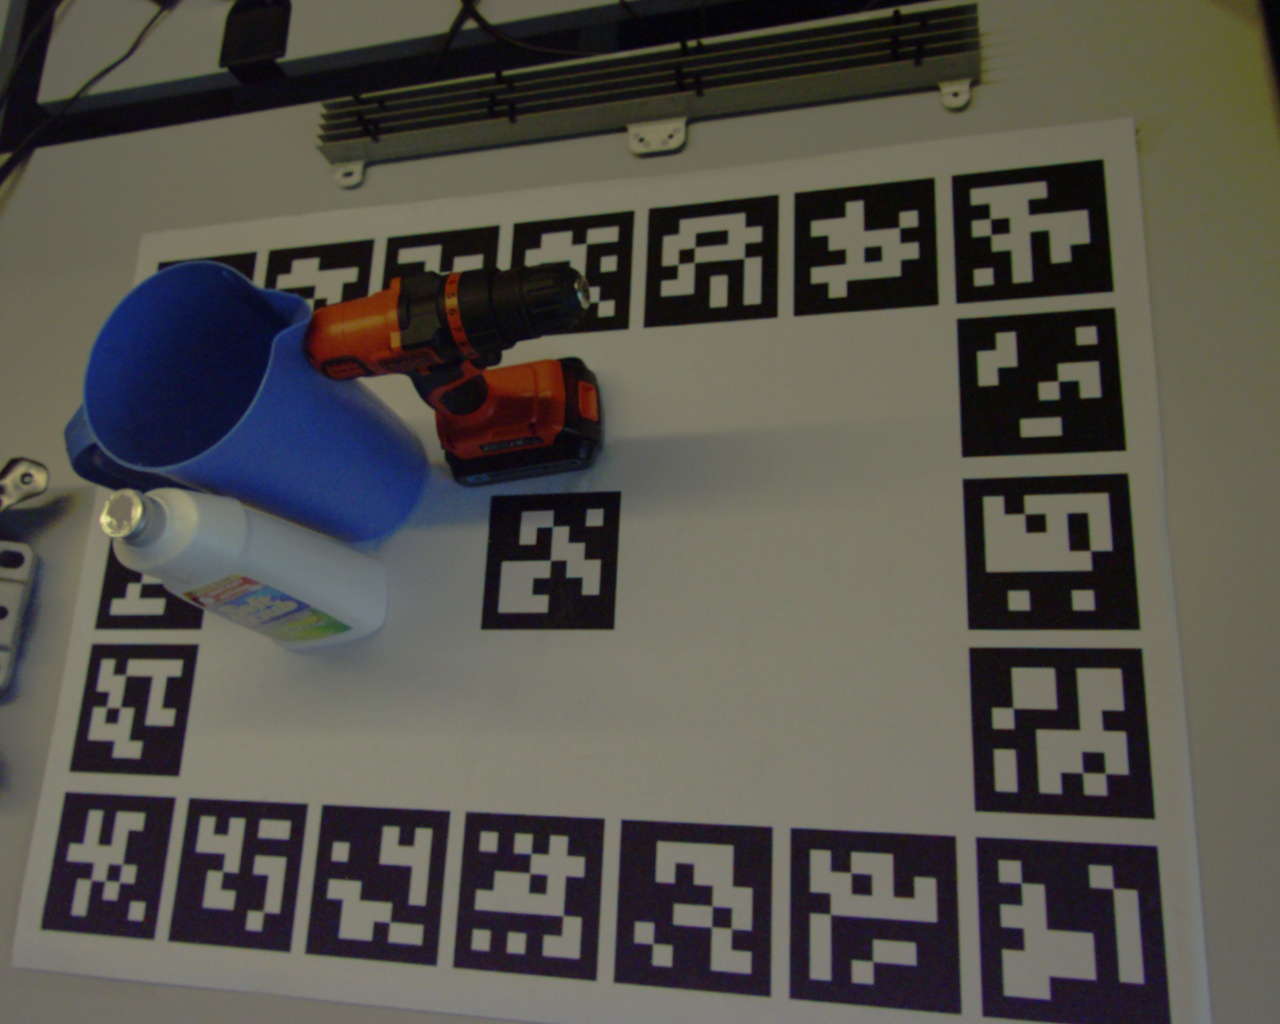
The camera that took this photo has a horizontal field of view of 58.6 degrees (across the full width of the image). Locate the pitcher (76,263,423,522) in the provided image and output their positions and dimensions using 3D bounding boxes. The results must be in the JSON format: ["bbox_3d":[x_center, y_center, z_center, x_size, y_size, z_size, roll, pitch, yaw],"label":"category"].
[{"bbox_3d":[-0.262,-0.062,0.809,0.189,0.240,0.134,-28,71,8],"label":"pitcher"}]

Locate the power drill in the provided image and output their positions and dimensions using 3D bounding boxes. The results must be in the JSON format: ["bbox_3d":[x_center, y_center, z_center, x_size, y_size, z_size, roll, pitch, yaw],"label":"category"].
[{"bbox_3d":[-0.096,-0.083,0.774,0.185,0.186,0.057,-6,77,9],"label":"power drill"}]

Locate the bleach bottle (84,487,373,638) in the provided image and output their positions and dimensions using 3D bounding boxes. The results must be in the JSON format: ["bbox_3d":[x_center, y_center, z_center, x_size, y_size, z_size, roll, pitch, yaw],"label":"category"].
[{"bbox_3d":[-0.281,0.032,0.769,0.103,0.248,0.068,-10,74,14],"label":"bleach bottle"}]
